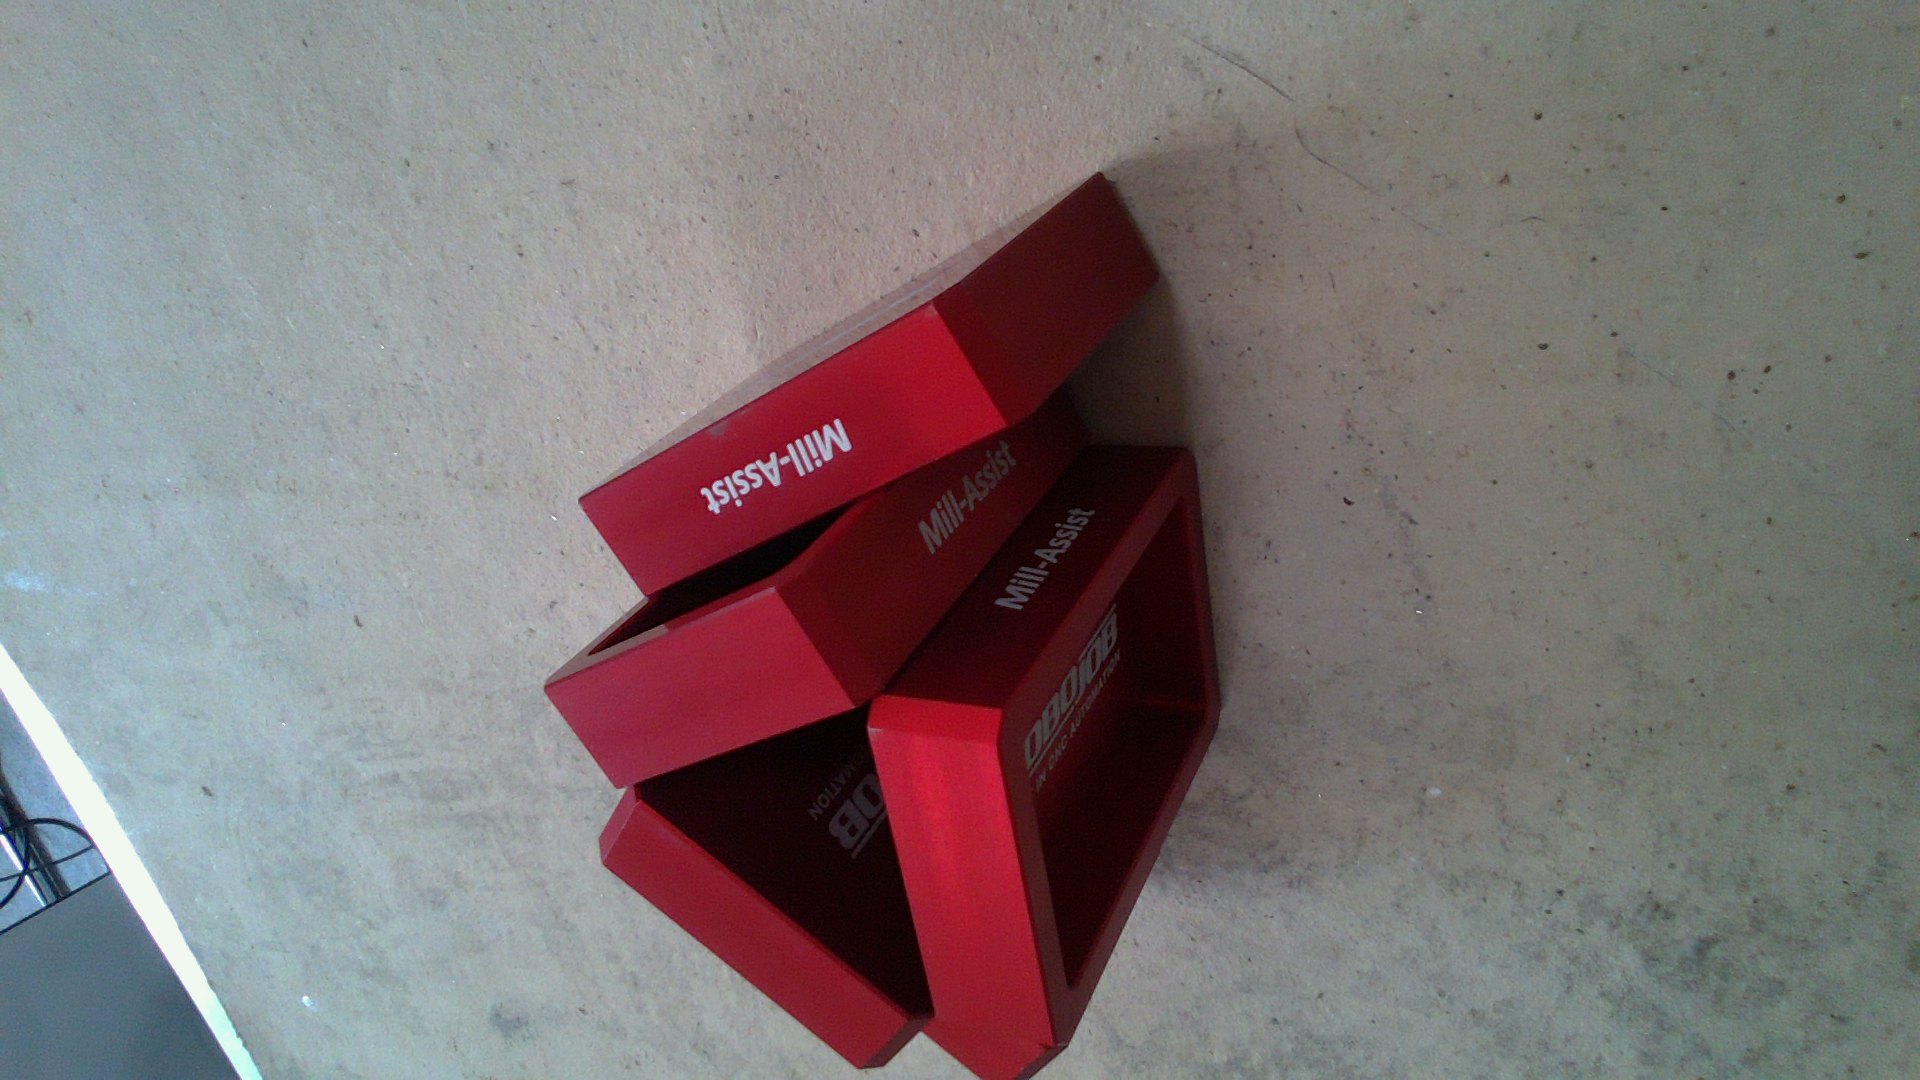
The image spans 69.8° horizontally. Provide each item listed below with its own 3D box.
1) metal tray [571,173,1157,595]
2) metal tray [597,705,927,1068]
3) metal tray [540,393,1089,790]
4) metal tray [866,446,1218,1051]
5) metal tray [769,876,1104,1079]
[{"bbox_3d":[-0.024,-0.037,0.340,0.129,0.090,0.030,-22,106,36],"label":"metal tray"},{"bbox_3d":[-0.023,0.064,0.377,0.090,0.130,0.030,37,129,3],"label":"metal tray"},{"bbox_3d":[-0.031,0.003,0.343,0.090,0.130,0.030,-22,107,37],"label":"metal tray"},{"bbox_3d":[0.028,0.044,0.337,0.030,0.130,0.090,5,121,26],"label":"metal tray"},{"bbox_3d":[-0.013,0.086,0.410,0.130,0.090,0.030,37,130,3],"label":"metal tray"}]
